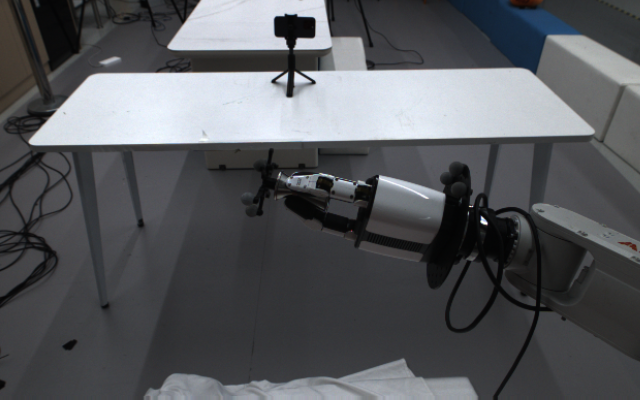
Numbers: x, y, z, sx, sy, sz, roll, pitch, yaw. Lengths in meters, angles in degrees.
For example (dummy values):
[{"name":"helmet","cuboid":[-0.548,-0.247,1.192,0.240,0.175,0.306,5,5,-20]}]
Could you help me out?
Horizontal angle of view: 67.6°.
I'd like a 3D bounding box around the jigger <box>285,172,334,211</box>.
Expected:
[{"name":"jigger","cuboid":[-0.014,-0.014,0.616,0.071,0.043,0.043,13,36,4]}]
